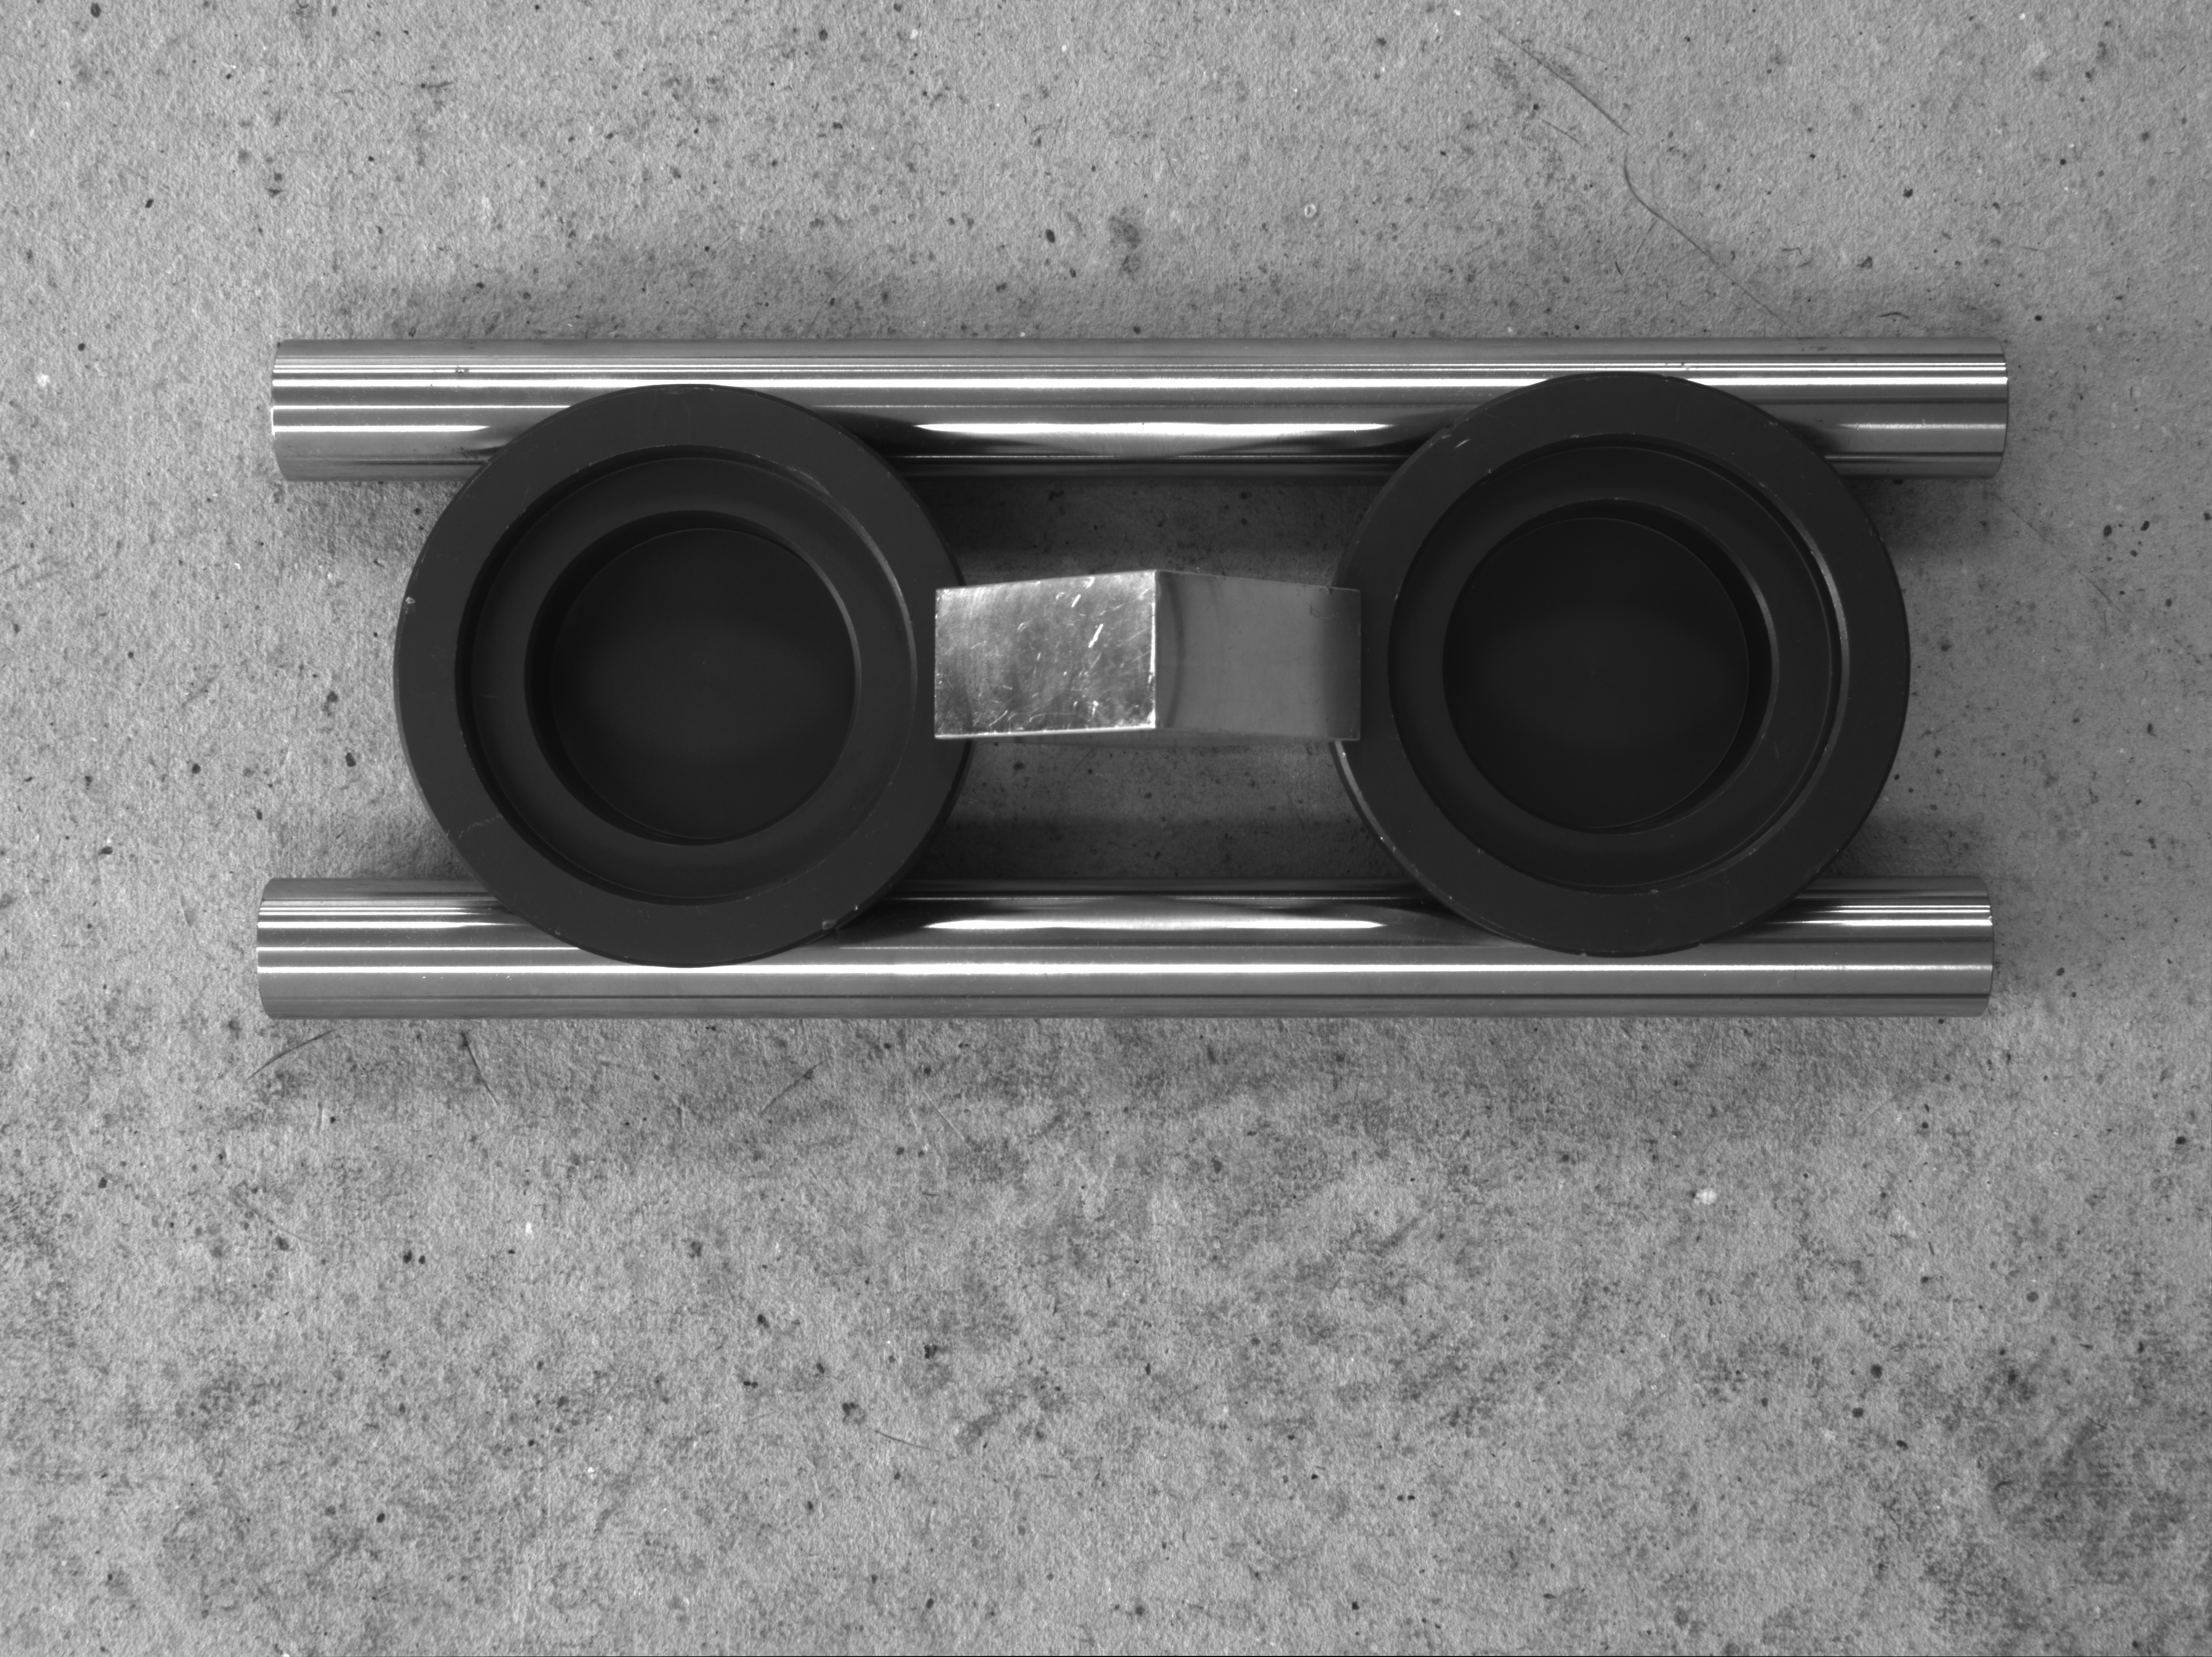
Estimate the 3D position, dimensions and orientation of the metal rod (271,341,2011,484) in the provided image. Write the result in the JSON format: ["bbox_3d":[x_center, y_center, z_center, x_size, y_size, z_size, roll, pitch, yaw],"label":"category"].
[{"bbox_3d":[0.006,-0.073,0.646,0.300,0.025,0.025,0,90,0],"label":"metal rod"}]

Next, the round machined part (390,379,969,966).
[{"bbox_3d":[-0.071,-0.026,0.633,0.098,0.042,0.098,0,90,0],"label":"round machined part"}]

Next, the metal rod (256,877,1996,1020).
[{"bbox_3d":[0.004,0.021,0.646,0.300,0.025,0.025,0,90,0],"label":"metal rod"}]

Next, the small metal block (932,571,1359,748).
[{"bbox_3d":[0.007,-0.027,0.607,0.050,0.050,0.025,-1,89,43],"label":"small metal block"}]

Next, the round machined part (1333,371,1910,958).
[{"bbox_3d":[0.085,-0.027,0.632,0.098,0.042,0.098,0,90,0],"label":"round machined part"}]
